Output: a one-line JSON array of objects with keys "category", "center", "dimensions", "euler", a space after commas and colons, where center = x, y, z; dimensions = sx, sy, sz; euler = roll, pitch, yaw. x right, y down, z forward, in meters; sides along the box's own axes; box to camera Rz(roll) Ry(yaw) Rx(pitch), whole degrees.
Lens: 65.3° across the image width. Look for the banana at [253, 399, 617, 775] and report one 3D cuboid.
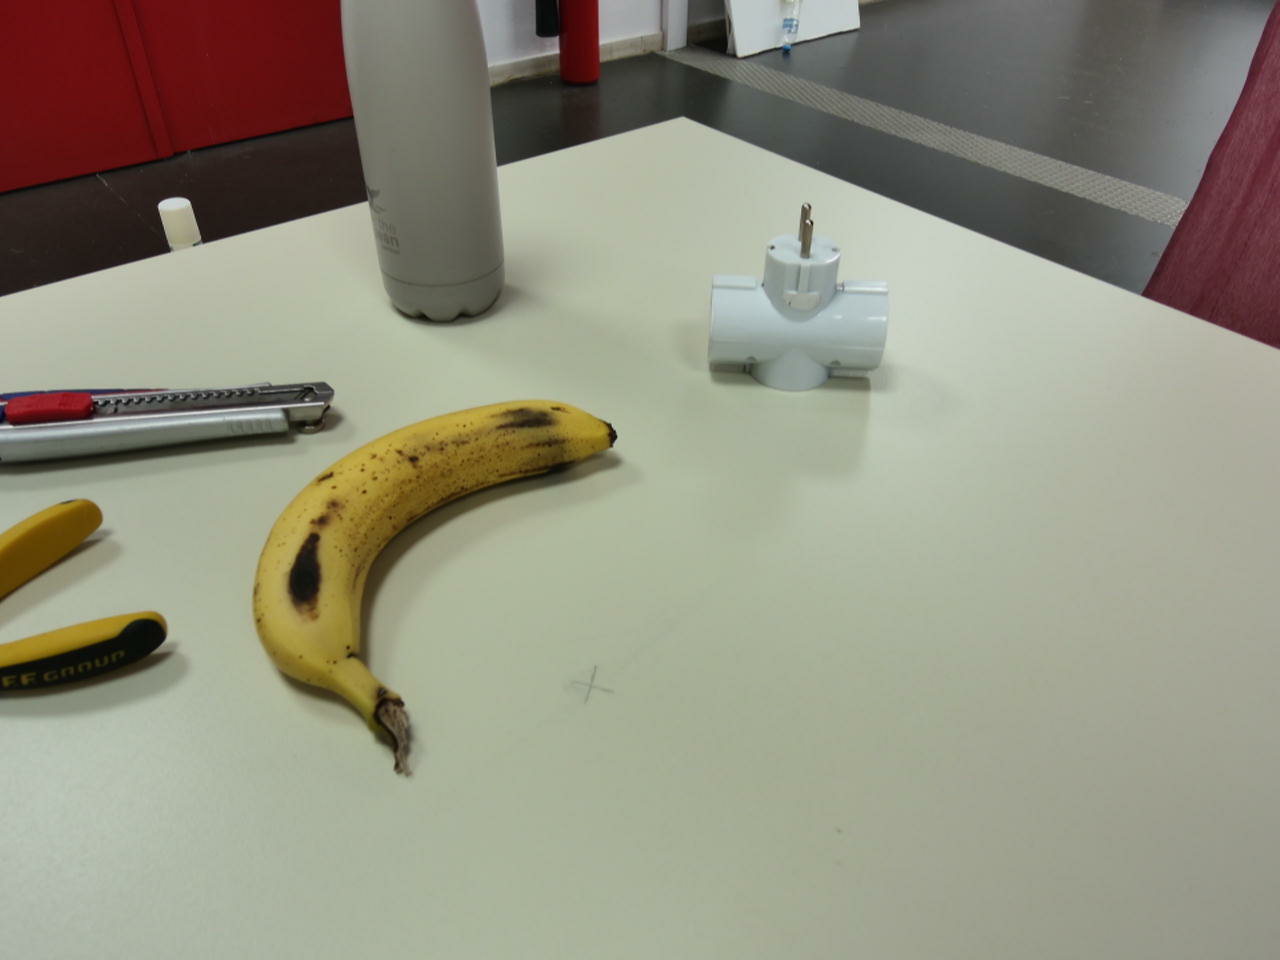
[{"category": "banana", "center": [-0.088, 0.016, 0.408], "dimensions": [0.097, 0.038, 0.186], "euler": [14, 38, 17]}]
